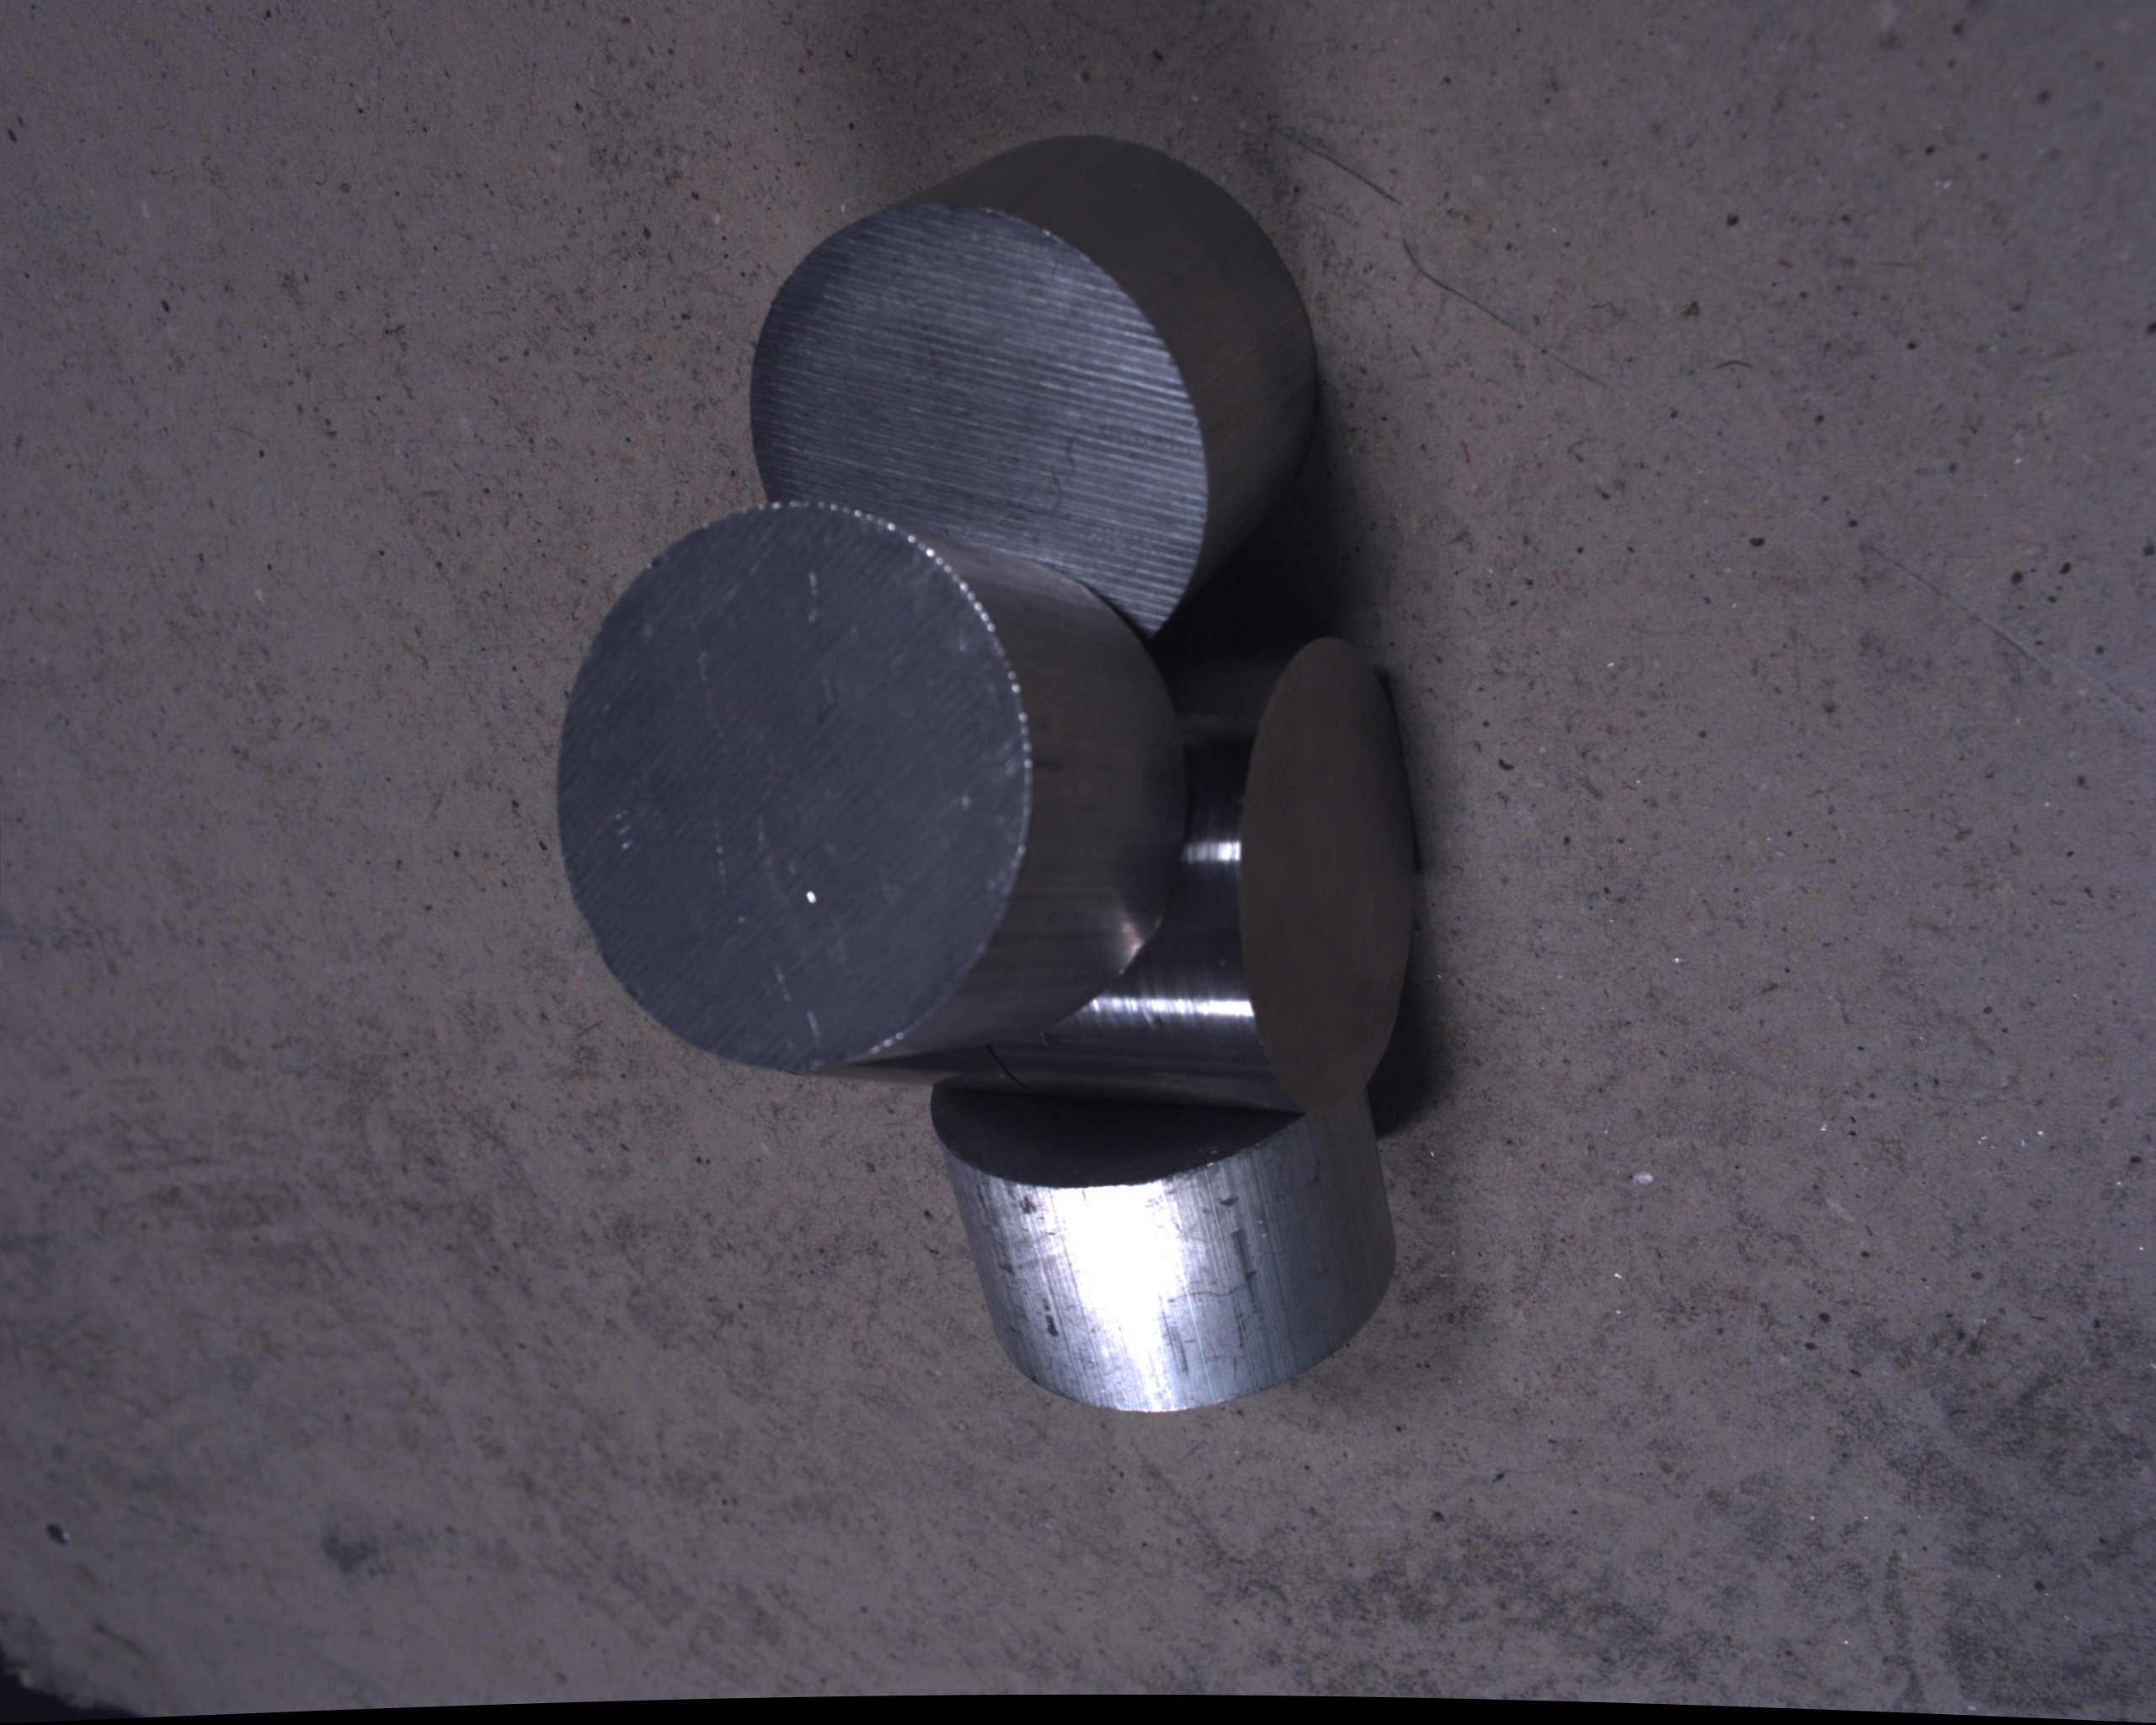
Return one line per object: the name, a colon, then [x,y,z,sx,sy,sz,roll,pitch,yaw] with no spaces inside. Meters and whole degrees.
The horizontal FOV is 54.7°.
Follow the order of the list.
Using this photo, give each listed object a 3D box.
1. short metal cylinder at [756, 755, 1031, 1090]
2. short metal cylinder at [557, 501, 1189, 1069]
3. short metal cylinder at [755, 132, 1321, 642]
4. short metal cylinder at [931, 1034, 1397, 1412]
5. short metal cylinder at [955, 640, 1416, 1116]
short metal cylinder: [-0.025,0.001,0.386,0.050,0.080,0.079,1,119,27]
short metal cylinder: [-0.030,-0.011,0.315,0.080,0.050,0.079,0,90,27]
short metal cylinder: [-0.006,-0.076,0.348,0.080,0.050,0.079,13,124,20]
short metal cylinder: [0.017,0.059,0.399,0.080,0.080,0.050,0,118,28]
short metal cylinder: [0.021,0.002,0.361,0.050,0.080,0.080,1,119,28]
